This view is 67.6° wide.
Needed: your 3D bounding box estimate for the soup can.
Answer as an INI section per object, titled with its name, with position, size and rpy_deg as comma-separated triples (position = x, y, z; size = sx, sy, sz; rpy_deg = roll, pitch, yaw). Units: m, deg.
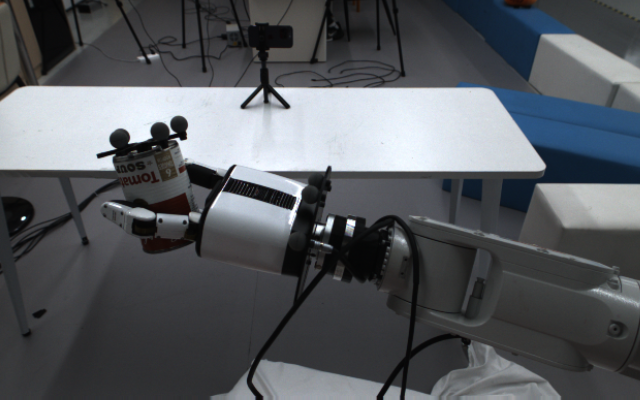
[soup can]
position = -0.164, -0.004, 0.504
size = 0.067, 0.101, 0.067
rpy_deg = -12, 17, 4
